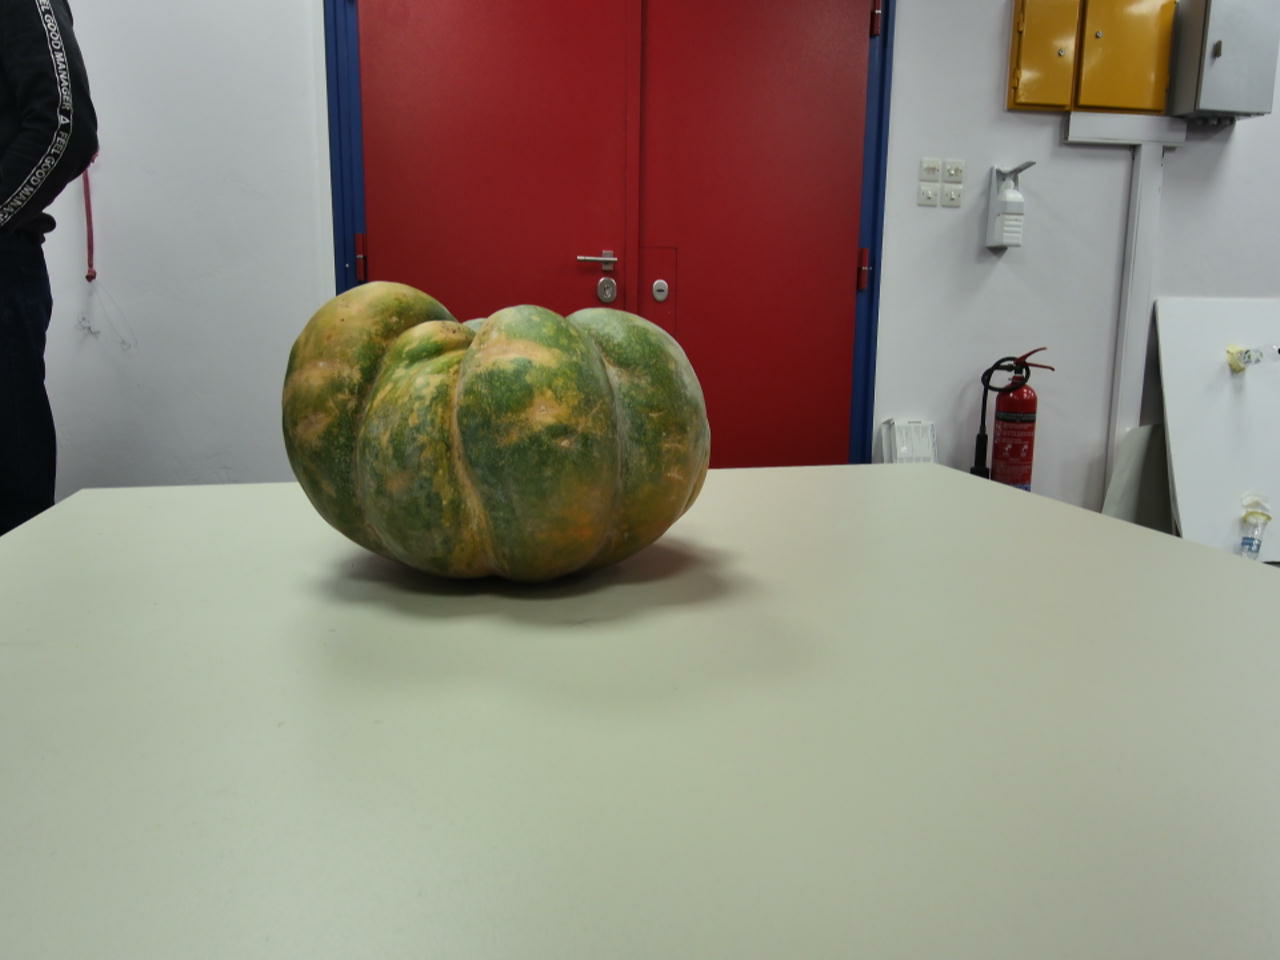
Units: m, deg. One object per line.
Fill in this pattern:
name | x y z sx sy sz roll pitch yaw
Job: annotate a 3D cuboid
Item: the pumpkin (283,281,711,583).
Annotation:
pumpkin | -0.085 -0.031 0.618 0.270 0.173 0.237 4 9 24
